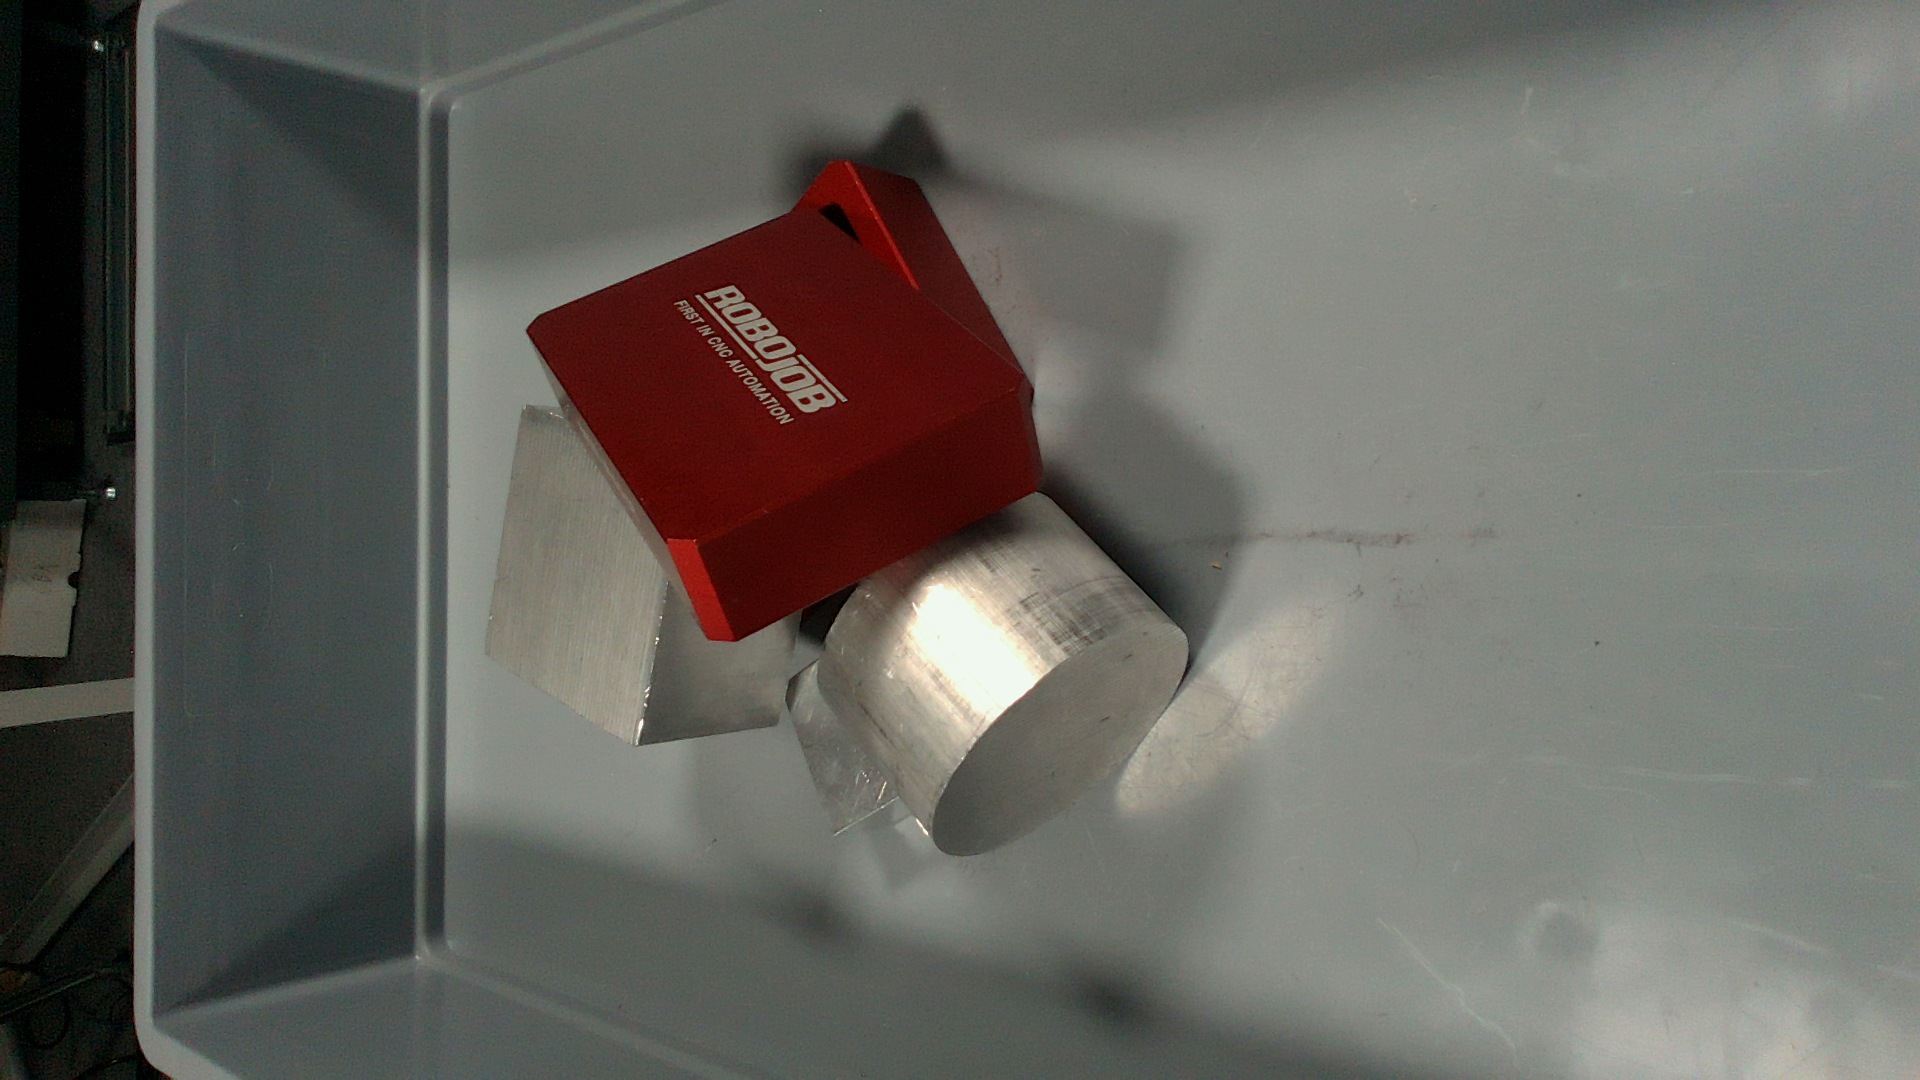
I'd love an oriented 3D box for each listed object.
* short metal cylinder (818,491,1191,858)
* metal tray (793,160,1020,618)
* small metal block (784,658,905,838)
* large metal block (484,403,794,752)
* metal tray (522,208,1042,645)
[{"bbox_3d":[0.011,0.034,0.348,0.050,0.080,0.080,47,118,30],"label":"short metal cylinder"},{"bbox_3d":[-0.047,-0.040,0.429,0.130,0.030,0.090,-42,65,32],"label":"metal tray"},{"bbox_3d":[-0.022,0.055,0.413,0.050,0.025,0.050,-36,68,34],"label":"small metal block"},{"bbox_3d":[-0.094,0.009,0.414,0.080,0.050,0.080,21,103,38],"label":"large metal block"},{"bbox_3d":[-0.050,-0.037,0.355,0.130,0.090,0.030,45,157,47],"label":"metal tray"}]
